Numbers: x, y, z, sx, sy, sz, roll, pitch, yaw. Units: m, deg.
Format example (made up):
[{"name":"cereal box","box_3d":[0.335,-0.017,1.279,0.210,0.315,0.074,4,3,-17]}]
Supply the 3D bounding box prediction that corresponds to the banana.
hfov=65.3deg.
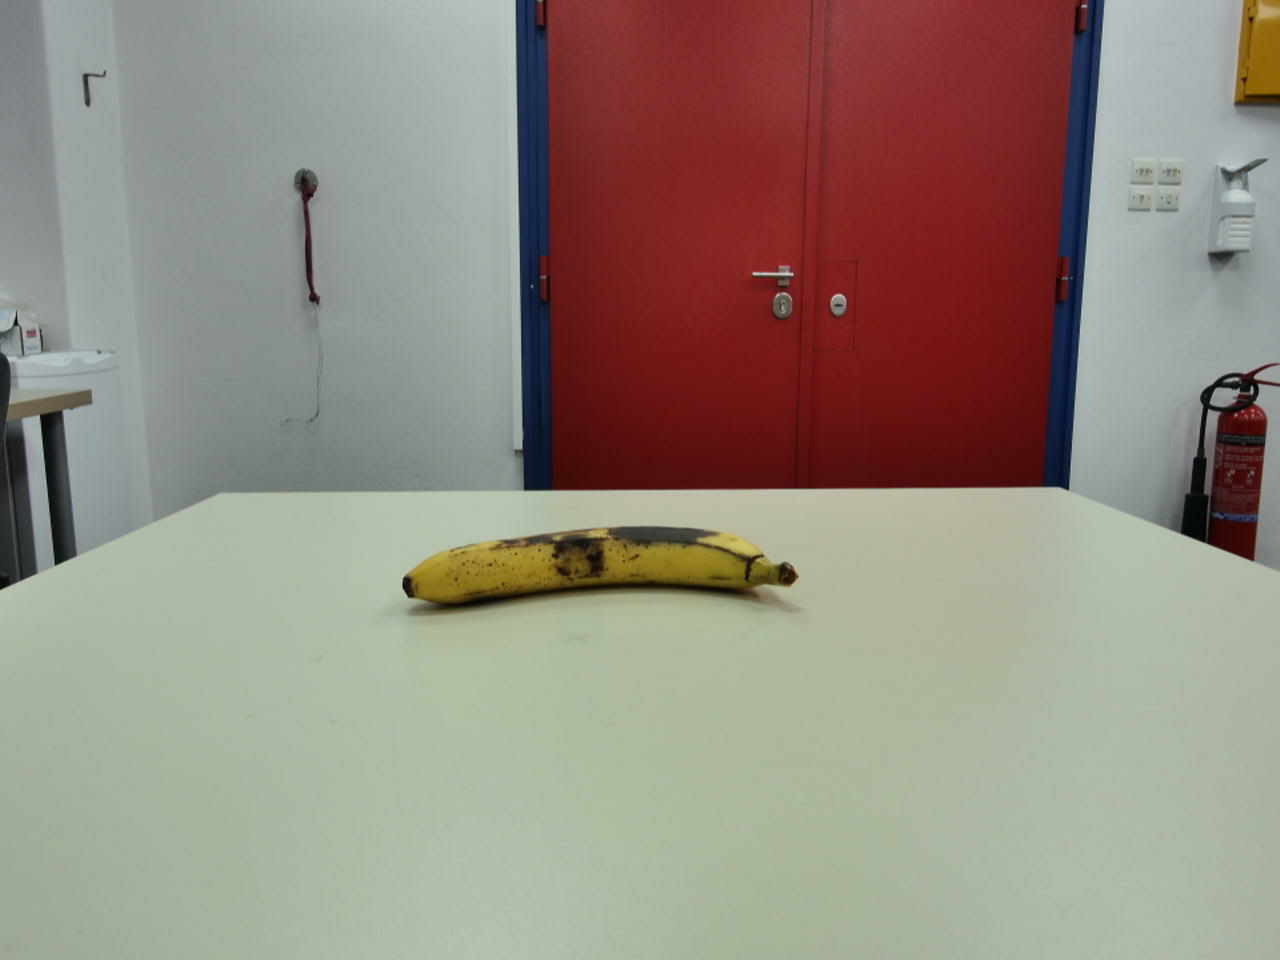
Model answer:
[{"name":"banana","box_3d":[-0.023,0.051,0.598,0.222,0.037,0.084,0,7,0]}]
